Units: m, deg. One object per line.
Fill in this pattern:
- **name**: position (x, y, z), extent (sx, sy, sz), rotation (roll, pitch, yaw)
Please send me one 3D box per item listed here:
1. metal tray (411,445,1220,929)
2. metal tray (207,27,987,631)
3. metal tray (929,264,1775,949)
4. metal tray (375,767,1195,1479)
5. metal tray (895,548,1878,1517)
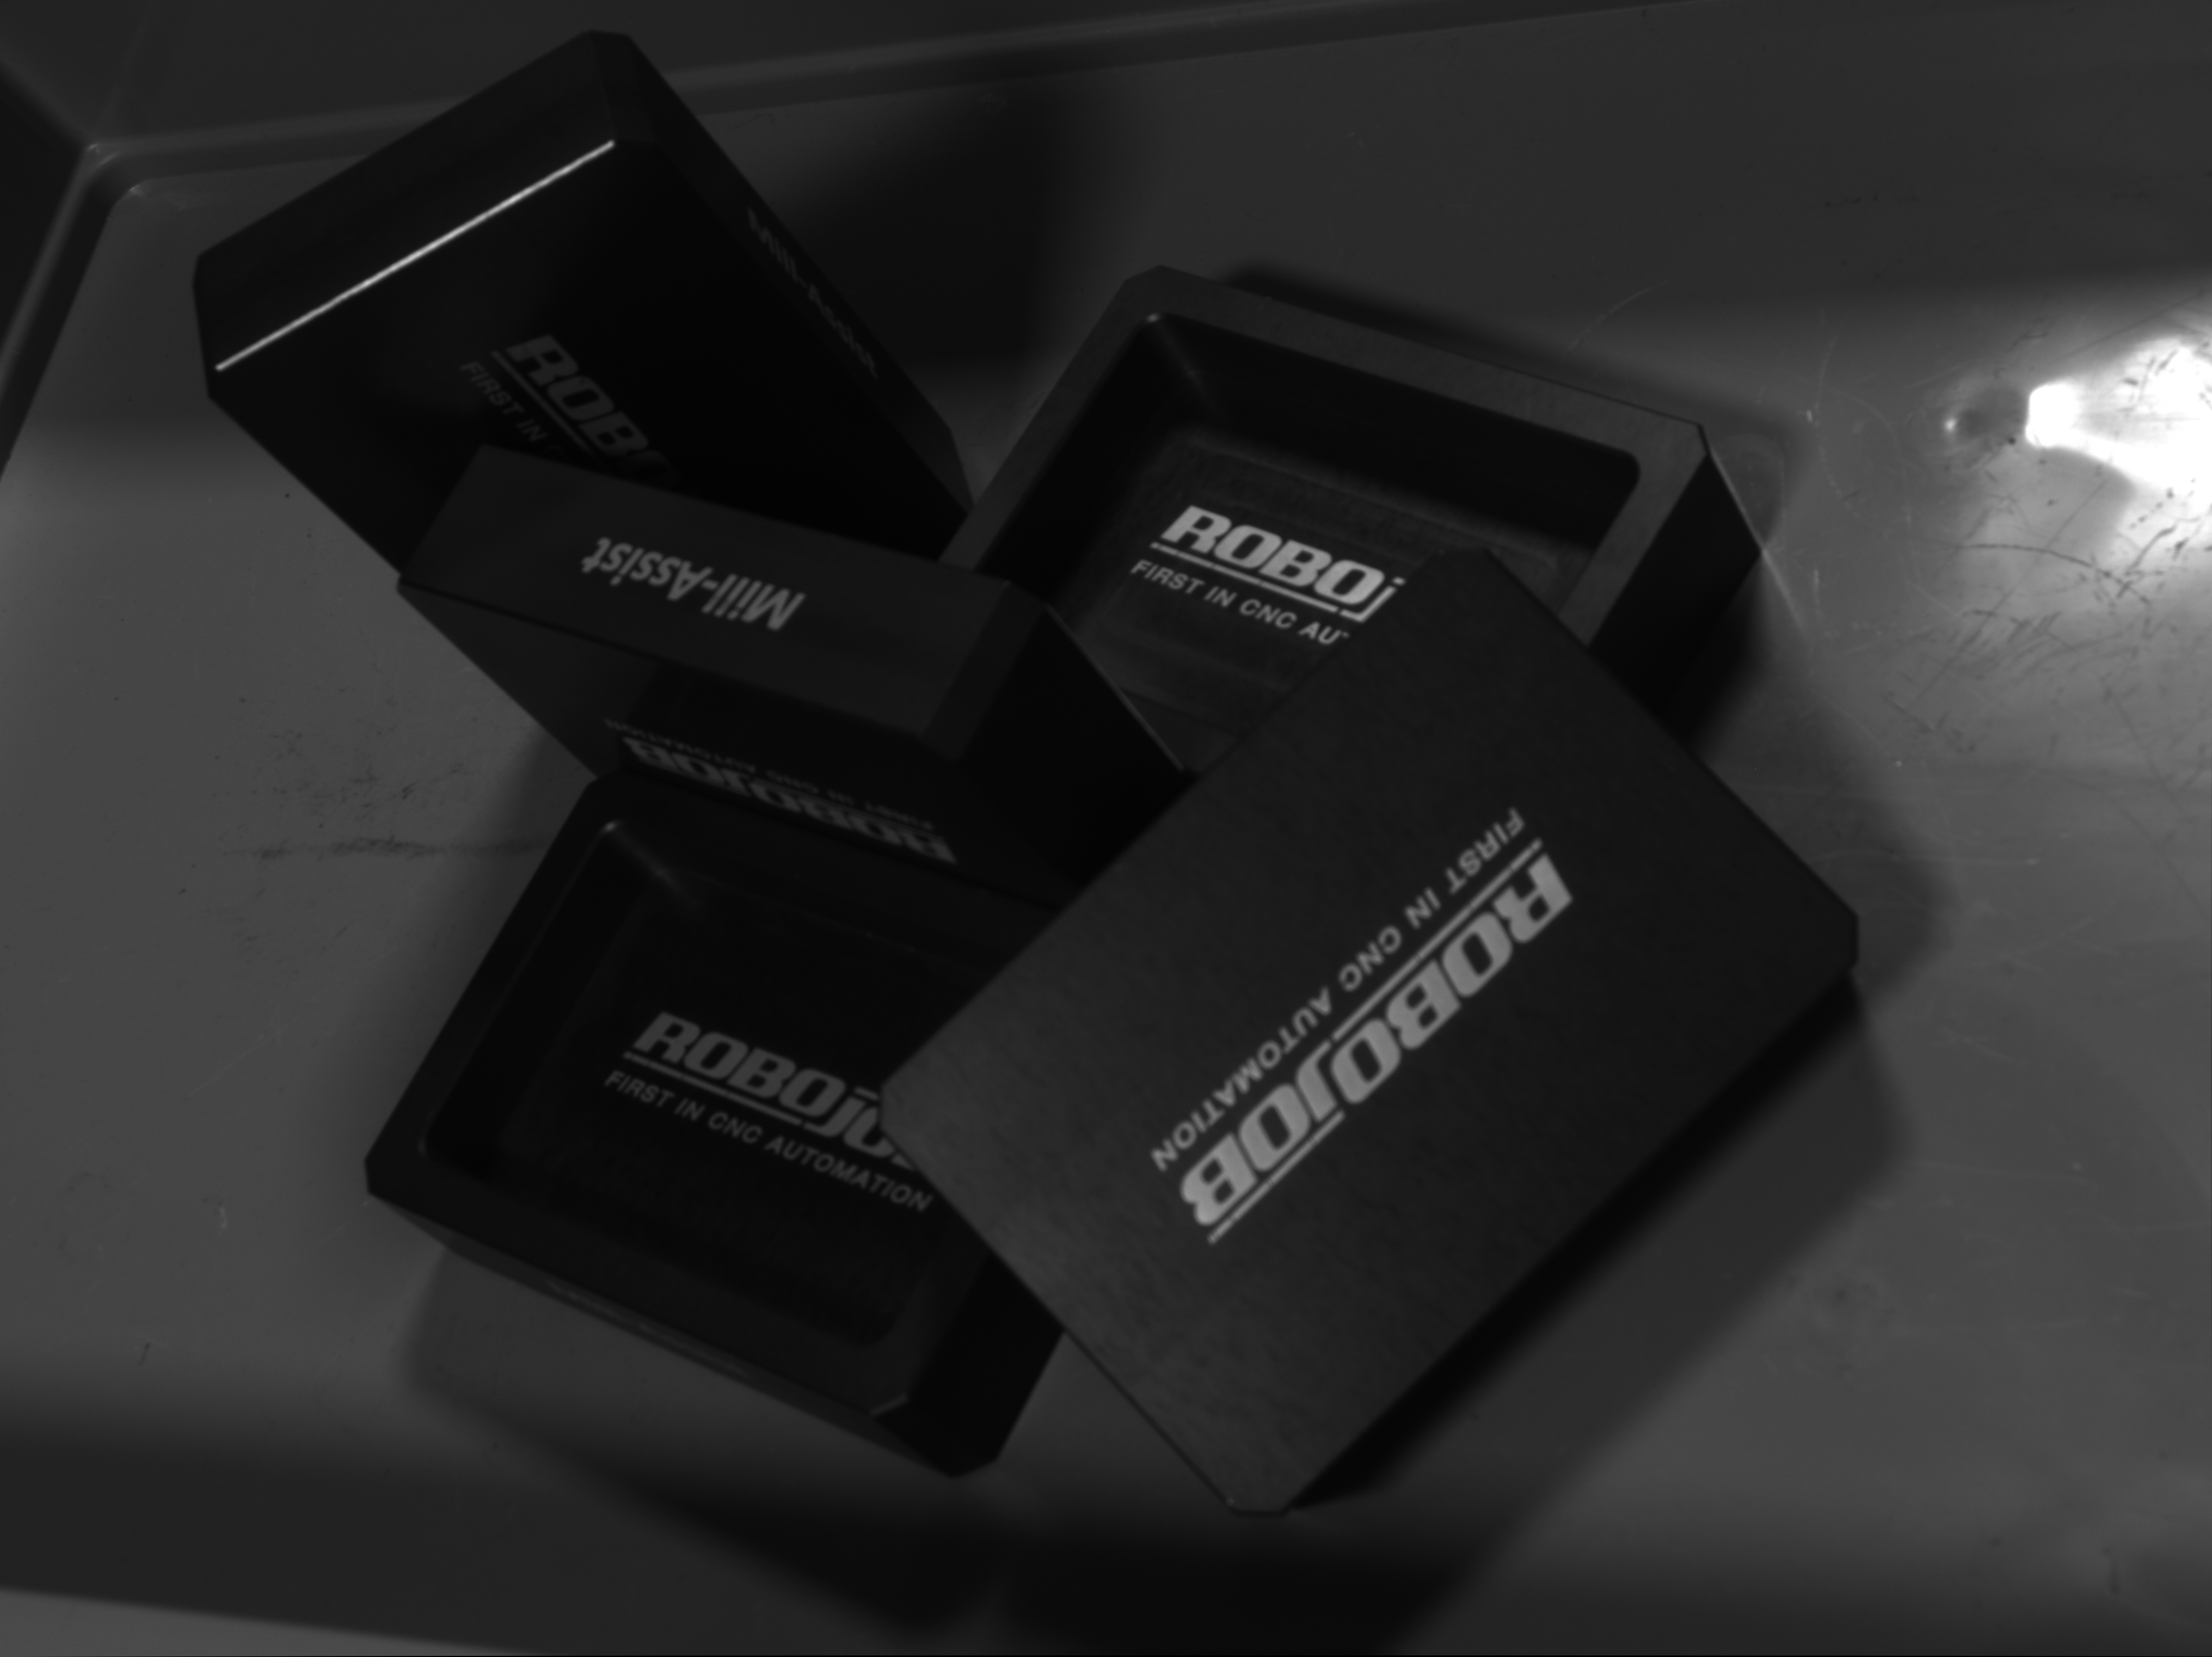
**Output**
- **metal tray**: position (-0.047, -0.019, 0.637), extent (0.130, 0.090, 0.030), rotation (17, 70, 35)
- **metal tray**: position (-0.089, -0.076, 0.669), extent (0.090, 0.130, 0.030), rotation (-27, 52, 12)
- **metal tray**: position (0.039, -0.042, 0.644), extent (0.130, 0.030, 0.090), rotation (23, 74, 36)
- **metal tray**: position (-0.055, 0.048, 0.638), extent (0.130, 0.030, 0.090), rotation (17, 71, 35)
- **metal tray**: position (0.044, 0.032, 0.571), extent (0.130, 0.030, 0.090), rotation (-44, 79, -2)
